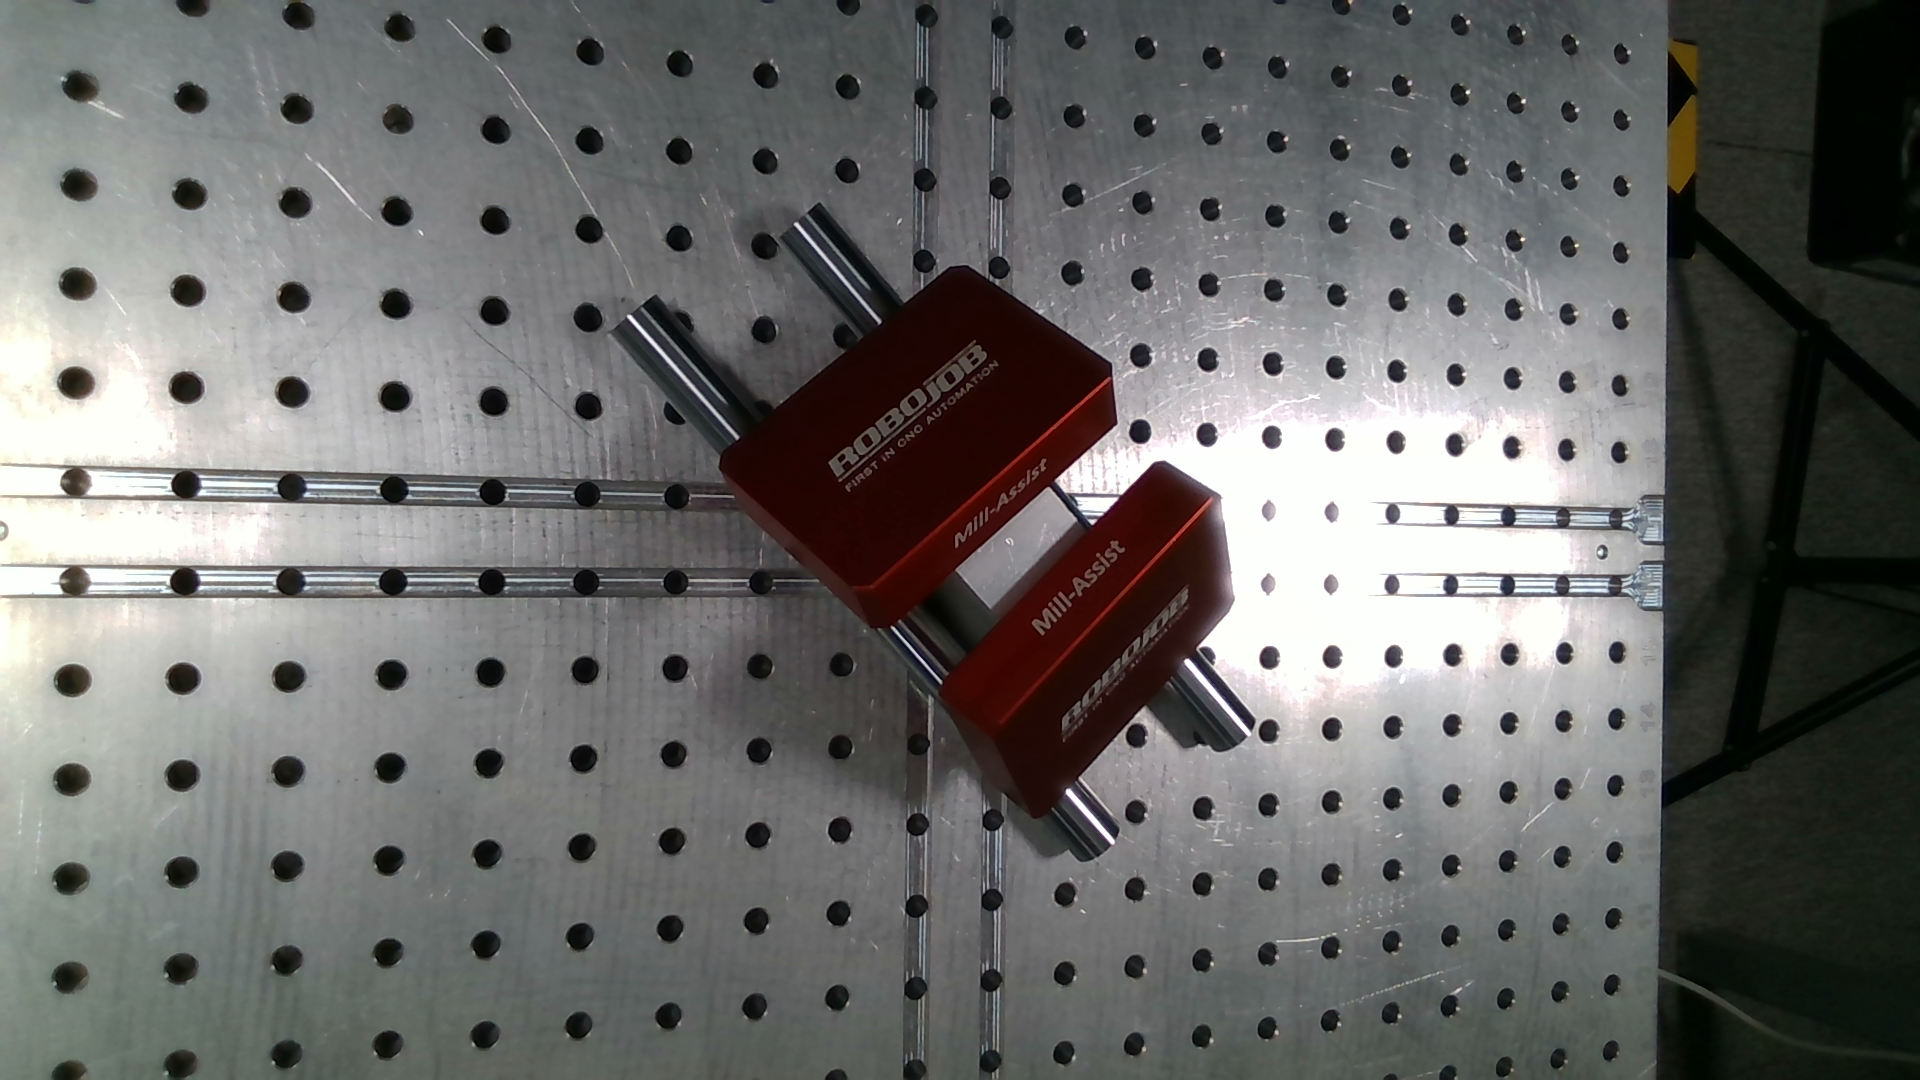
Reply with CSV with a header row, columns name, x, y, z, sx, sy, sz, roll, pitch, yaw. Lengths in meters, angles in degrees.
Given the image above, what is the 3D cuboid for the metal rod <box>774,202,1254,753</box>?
name,x,y,z,sx,sy,sz,roll,pitch,yaw
metal rod,0.029,-0.021,0.599,0.025,0.025,0.300,-45,104,-15

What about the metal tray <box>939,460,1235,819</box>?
name,x,y,z,sx,sy,sz,roll,pitch,yaw
metal tray,0.056,0.041,0.551,0.130,0.030,0.090,-45,148,-14

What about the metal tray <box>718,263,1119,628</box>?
name,x,y,z,sx,sy,sz,roll,pitch,yaw
metal tray,-0.014,-0.039,0.525,0.130,0.030,0.090,-42,60,-15

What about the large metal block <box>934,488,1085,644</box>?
name,x,y,z,sx,sy,sz,roll,pitch,yaw
large metal block,0.013,0.007,0.564,0.050,0.080,0.080,-44,104,-15

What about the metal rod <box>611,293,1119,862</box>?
name,x,y,z,sx,sy,sz,roll,pitch,yaw
metal rod,-0.034,0.022,0.576,0.025,0.025,0.300,-44,104,-15
